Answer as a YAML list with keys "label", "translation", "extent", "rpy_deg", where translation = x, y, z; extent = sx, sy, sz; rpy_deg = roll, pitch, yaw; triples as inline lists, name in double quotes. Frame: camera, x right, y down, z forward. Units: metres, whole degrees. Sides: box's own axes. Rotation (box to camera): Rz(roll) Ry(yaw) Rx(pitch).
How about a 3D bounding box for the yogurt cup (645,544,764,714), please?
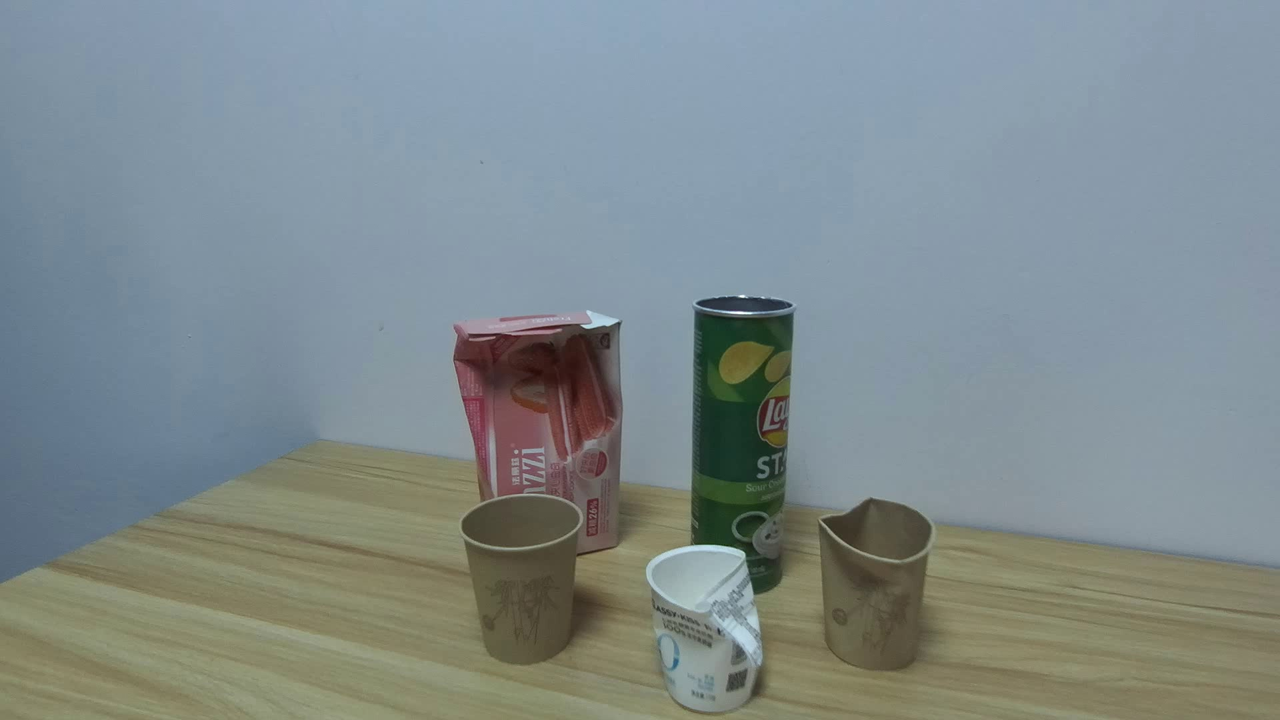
- label: "yogurt cup"
  translation: [0.036, 0.152, 0.400]
  extent: [0.067, 0.070, 0.067]
  rpy_deg: [-1, 16, 1]

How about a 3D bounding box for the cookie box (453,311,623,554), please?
- label: "cookie box"
  translation: [-0.074, 0.060, 0.537]
  extent: [0.119, 0.184, 0.055]
  rpy_deg: [-6, 16, -15]

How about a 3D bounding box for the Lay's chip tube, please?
- label: "Lay's chip tube"
  translation: [0.070, 0.058, 0.499]
  extent: [0.071, 0.202, 0.071]
  rpy_deg: [0, 15, 0]

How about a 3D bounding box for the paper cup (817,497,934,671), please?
- label: "paper cup"
  translation: [0.146, 0.137, 0.429]
  extent: [0.072, 0.084, 0.066]
  rpy_deg: [-11, 17, -37]

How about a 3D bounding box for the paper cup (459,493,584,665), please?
- label: "paper cup"
  translation: [-0.071, 0.136, 0.438]
  extent: [0.075, 0.082, 0.075]
  rpy_deg: [0, 15, 0]
